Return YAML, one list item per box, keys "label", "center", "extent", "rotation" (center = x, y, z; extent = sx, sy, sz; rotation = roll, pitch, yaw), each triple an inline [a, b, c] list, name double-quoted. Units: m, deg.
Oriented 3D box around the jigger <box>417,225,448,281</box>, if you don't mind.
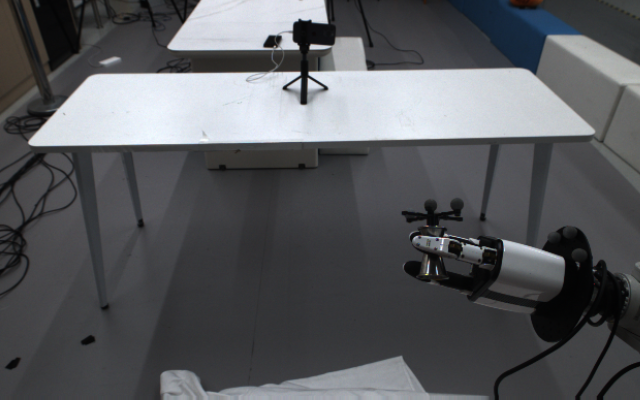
- label: "jigger"
  center: [0.152, 0.071, 0.662]
  extent: [0.043, 0.043, 0.071]
  rotation: [3, 75, 1]
